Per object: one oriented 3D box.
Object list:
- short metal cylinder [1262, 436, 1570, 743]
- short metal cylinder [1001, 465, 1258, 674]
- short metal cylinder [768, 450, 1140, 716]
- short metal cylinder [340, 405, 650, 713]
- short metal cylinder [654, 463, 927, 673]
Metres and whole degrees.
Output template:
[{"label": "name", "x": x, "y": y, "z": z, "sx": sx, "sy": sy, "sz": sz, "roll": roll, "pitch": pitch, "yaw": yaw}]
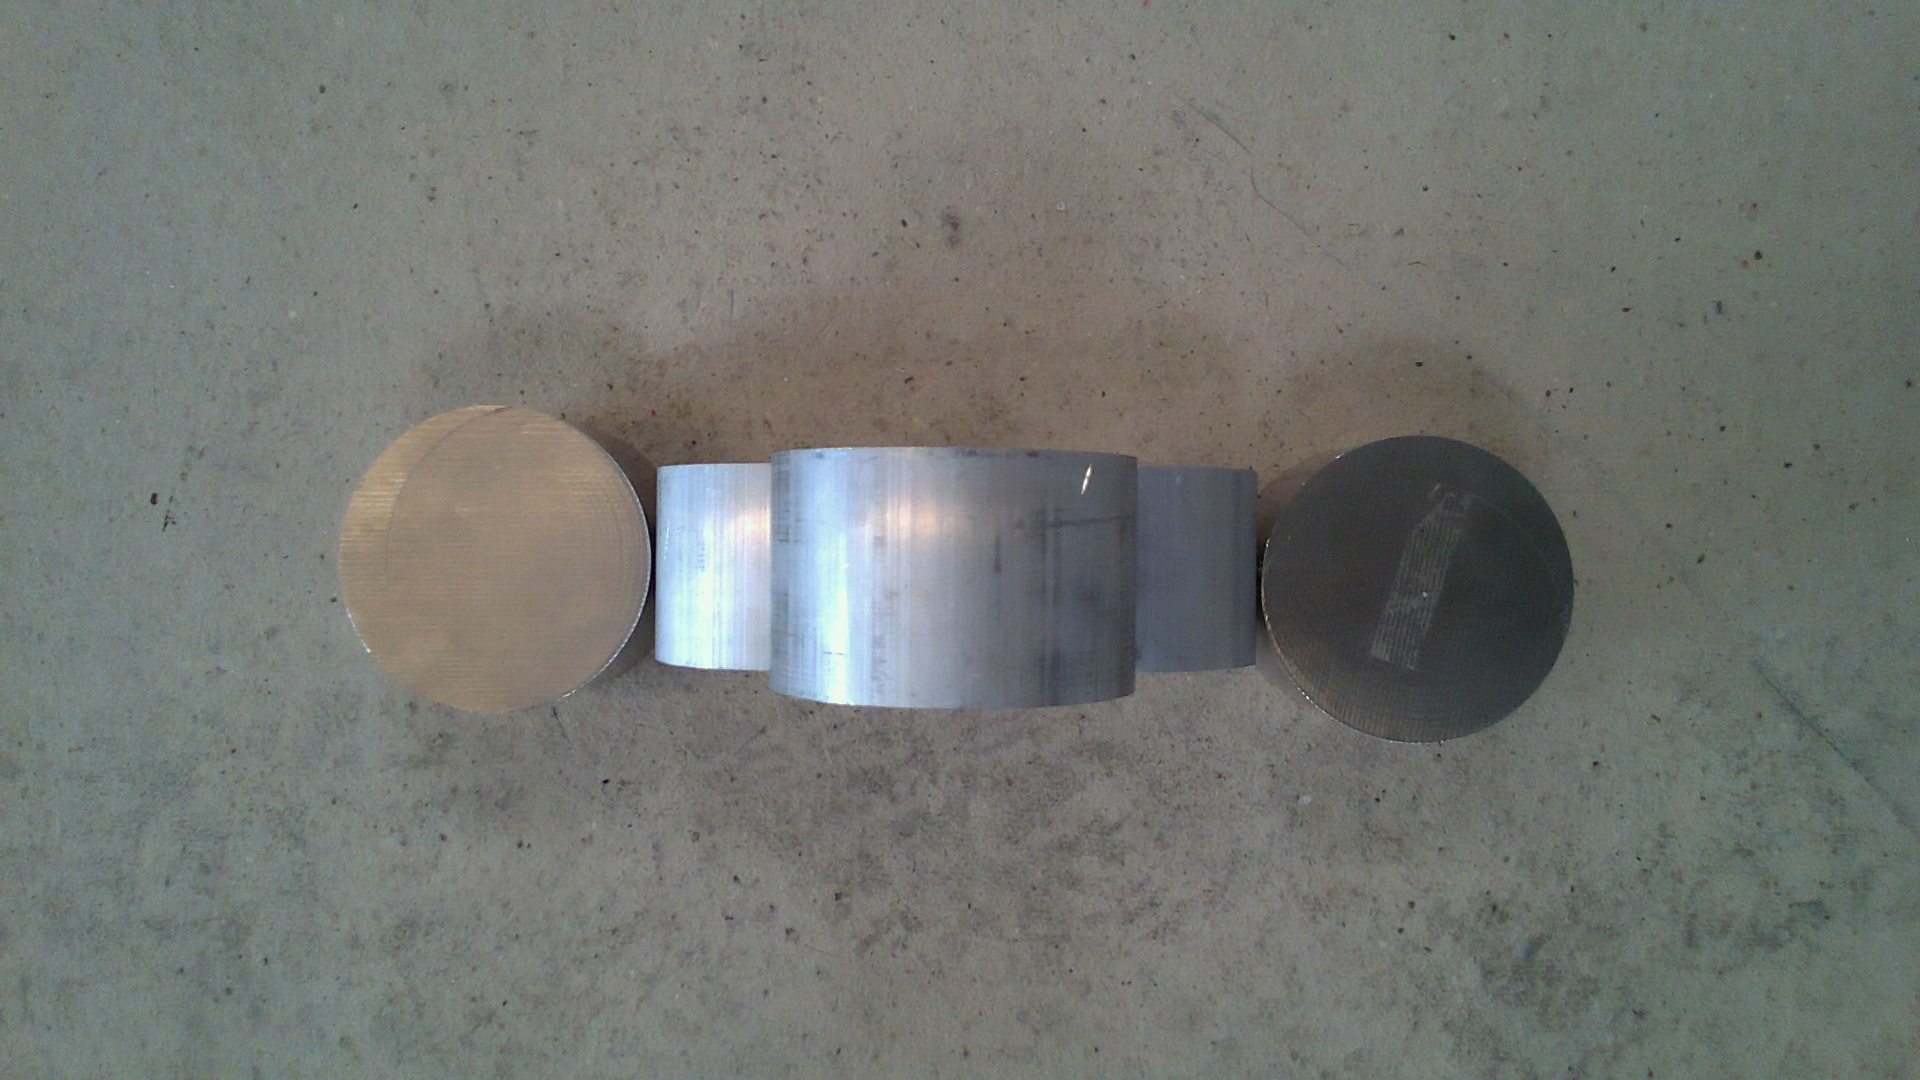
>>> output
[{"label": "short metal cylinder", "x": 0.119, "y": 0.013, "z": 0.383, "sx": 0.080, "sy": 0.050, "sz": 0.080, "roll": 0, "pitch": 91, "yaw": 0}, {"label": "short metal cylinder", "x": 0.039, "y": 0.007, "z": 0.369, "sx": 0.080, "sy": 0.080, "sz": 0.050, "roll": 0, "pitch": 89, "yaw": 0}, {"label": "short metal cylinder", "x": -0.001, "y": 0.007, "z": 0.299, "sx": 0.080, "sy": 0.080, "sz": 0.050, "roll": 1, "pitch": 91, "yaw": 0}, {"label": "short metal cylinder", "x": -0.121, "y": 0.005, "z": 0.382, "sx": 0.080, "sy": 0.050, "sz": 0.080, "roll": 0, "pitch": 90, "yaw": 0}, {"label": "short metal cylinder", "x": -0.041, "y": 0.006, "z": 0.368, "sx": 0.080, "sy": 0.080, "sz": 0.050, "roll": 0, "pitch": 90, "yaw": 0}]
